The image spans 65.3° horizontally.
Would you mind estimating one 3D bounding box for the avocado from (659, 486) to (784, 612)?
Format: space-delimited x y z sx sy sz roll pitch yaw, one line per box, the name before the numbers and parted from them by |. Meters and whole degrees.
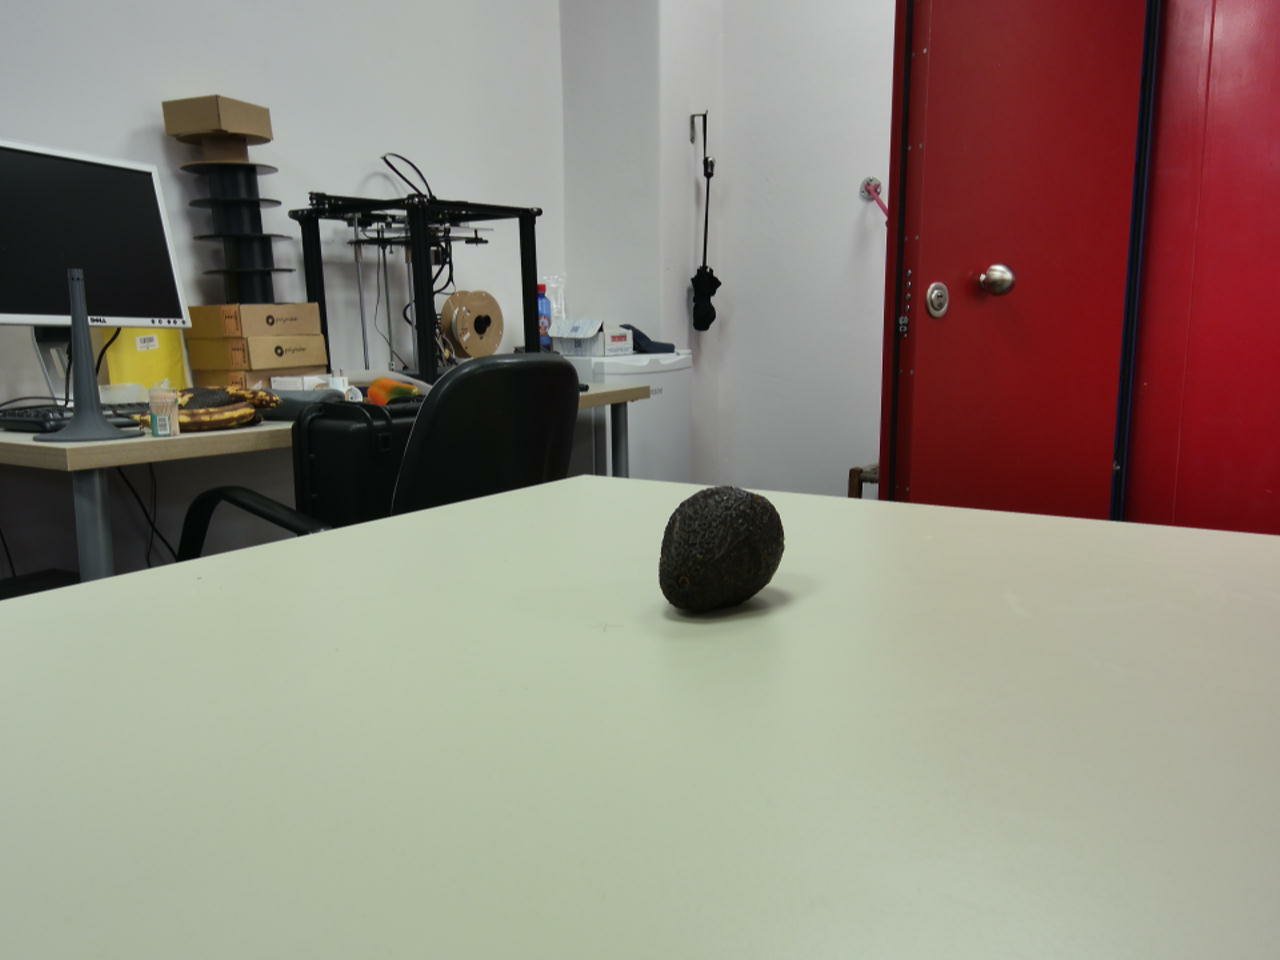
avocado | 0.045 0.039 0.596 0.090 0.069 0.070 -4 8 -30
